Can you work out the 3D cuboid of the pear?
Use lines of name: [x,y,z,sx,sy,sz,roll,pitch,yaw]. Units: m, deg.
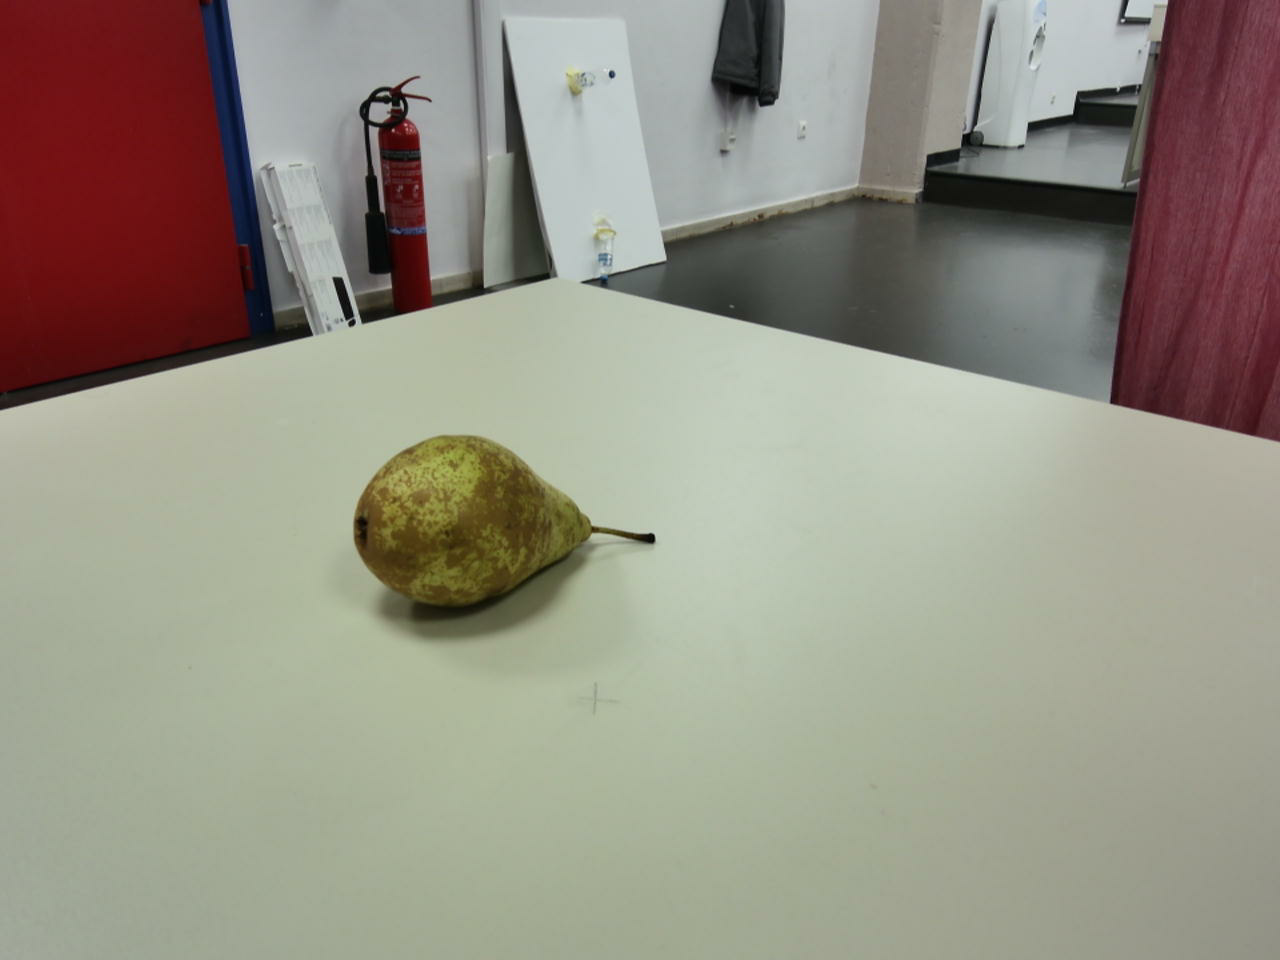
pear: [-0.063,0.010,0.430,0.071,0.075,0.128,12,27,29]
